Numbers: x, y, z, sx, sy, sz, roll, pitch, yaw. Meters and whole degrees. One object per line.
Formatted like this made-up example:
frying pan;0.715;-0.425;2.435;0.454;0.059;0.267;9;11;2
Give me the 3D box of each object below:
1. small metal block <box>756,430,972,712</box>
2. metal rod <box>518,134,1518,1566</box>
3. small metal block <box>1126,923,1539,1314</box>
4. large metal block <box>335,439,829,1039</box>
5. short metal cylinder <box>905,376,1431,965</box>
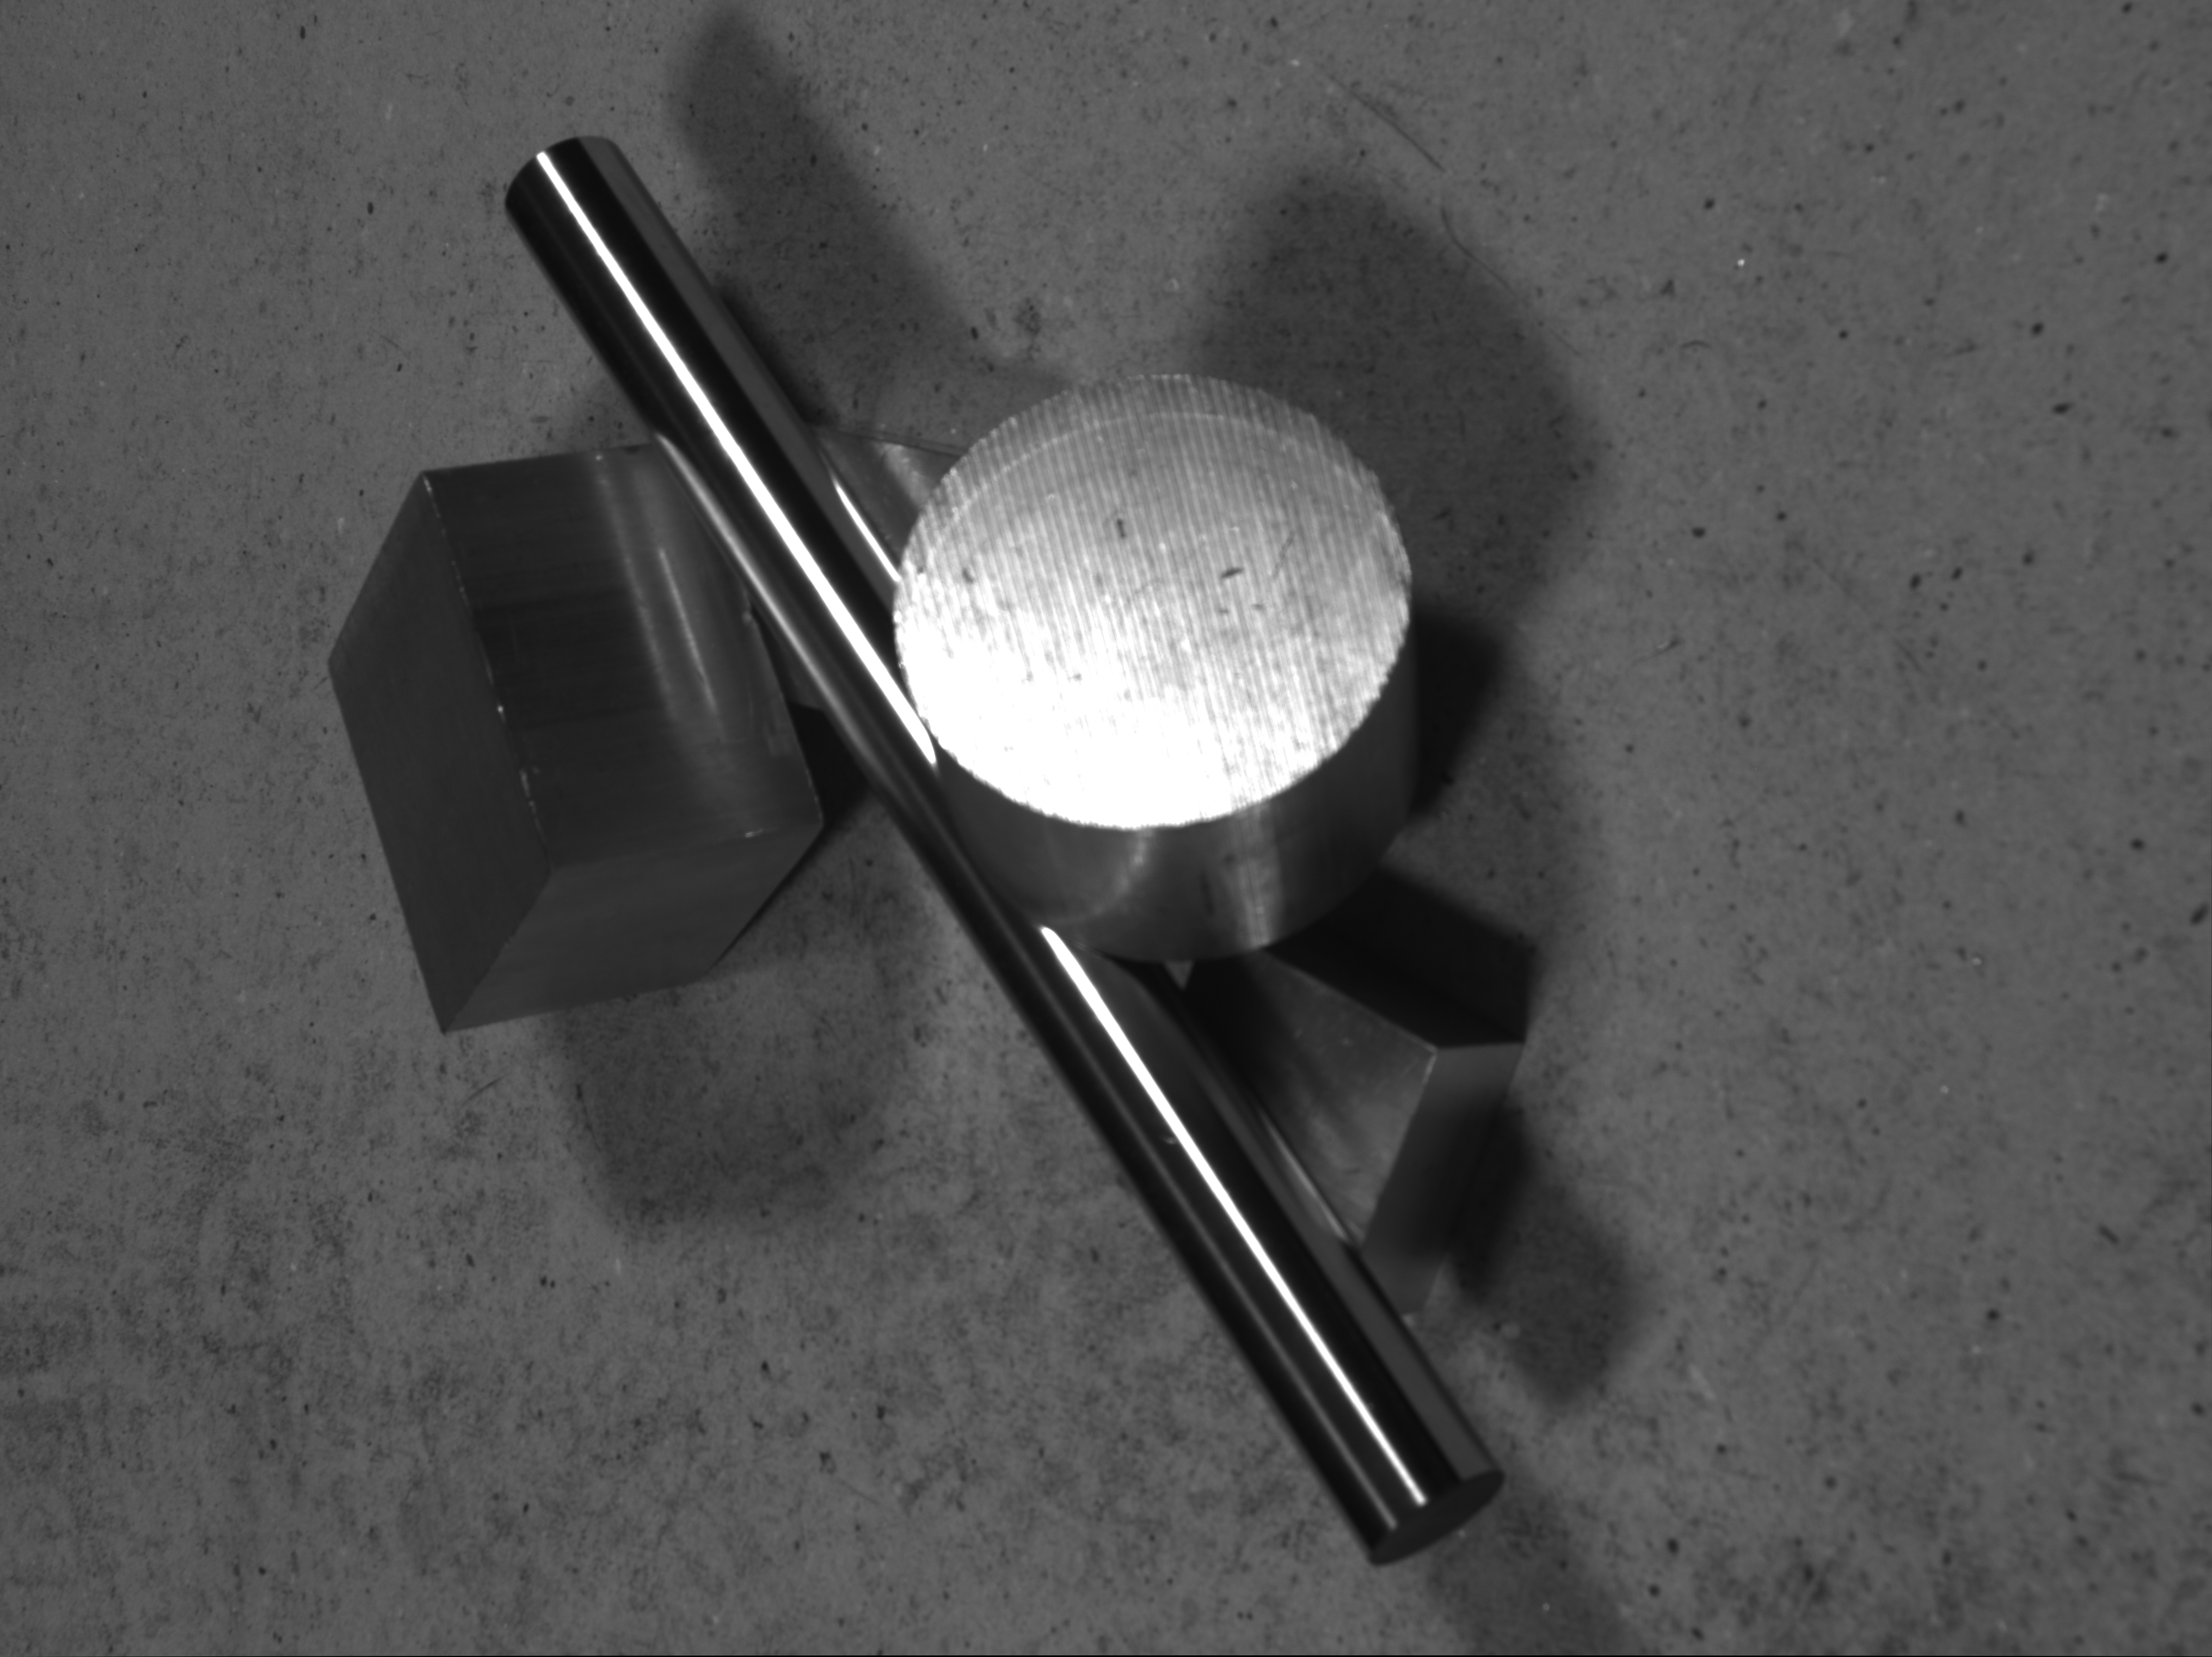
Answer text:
small metal block;-0.036;-0.045;0.667;0.050;0.025;0.050;16;100;38
metal rod;-0.023;-0.007;0.623;0.025;0.025;0.300;-48;62;29
small metal block;0.037;0.047;0.607;0.050;0.025;0.050;30;109;35
large metal block;-0.100;-0.017;0.681;0.080;0.050;0.080;-45;61;56
short metal cylinder;0.011;-0.025;0.585;0.080;0.050;0.080;-3;64;5
